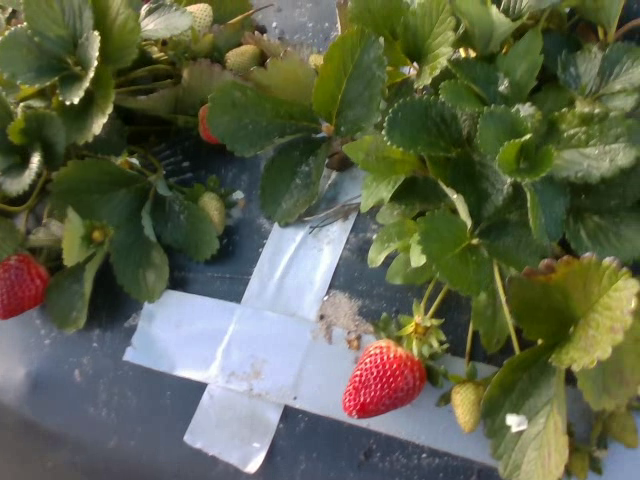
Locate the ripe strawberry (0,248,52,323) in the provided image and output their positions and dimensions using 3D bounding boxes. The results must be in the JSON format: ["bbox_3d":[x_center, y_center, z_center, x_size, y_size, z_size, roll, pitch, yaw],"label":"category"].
[{"bbox_3d":[-0.096,0.015,0.194,0.018,0.023,0.020,2,-29,38],"label":"ripe strawberry"}]

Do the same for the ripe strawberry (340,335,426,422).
[{"bbox_3d":[0.015,0.038,0.156,0.026,0.021,0.023,-42,41,-23],"label":"ripe strawberry"}]
